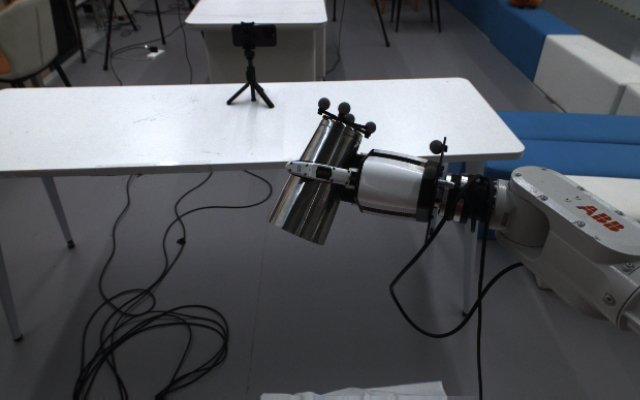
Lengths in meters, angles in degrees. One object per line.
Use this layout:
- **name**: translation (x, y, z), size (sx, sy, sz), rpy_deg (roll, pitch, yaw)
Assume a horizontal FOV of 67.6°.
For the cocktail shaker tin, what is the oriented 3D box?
- **cocktail shaker tin**: translation (0.000, -0.033, 0.712), size (0.093, 0.170, 0.093), rpy_deg (23, 0, 0)
